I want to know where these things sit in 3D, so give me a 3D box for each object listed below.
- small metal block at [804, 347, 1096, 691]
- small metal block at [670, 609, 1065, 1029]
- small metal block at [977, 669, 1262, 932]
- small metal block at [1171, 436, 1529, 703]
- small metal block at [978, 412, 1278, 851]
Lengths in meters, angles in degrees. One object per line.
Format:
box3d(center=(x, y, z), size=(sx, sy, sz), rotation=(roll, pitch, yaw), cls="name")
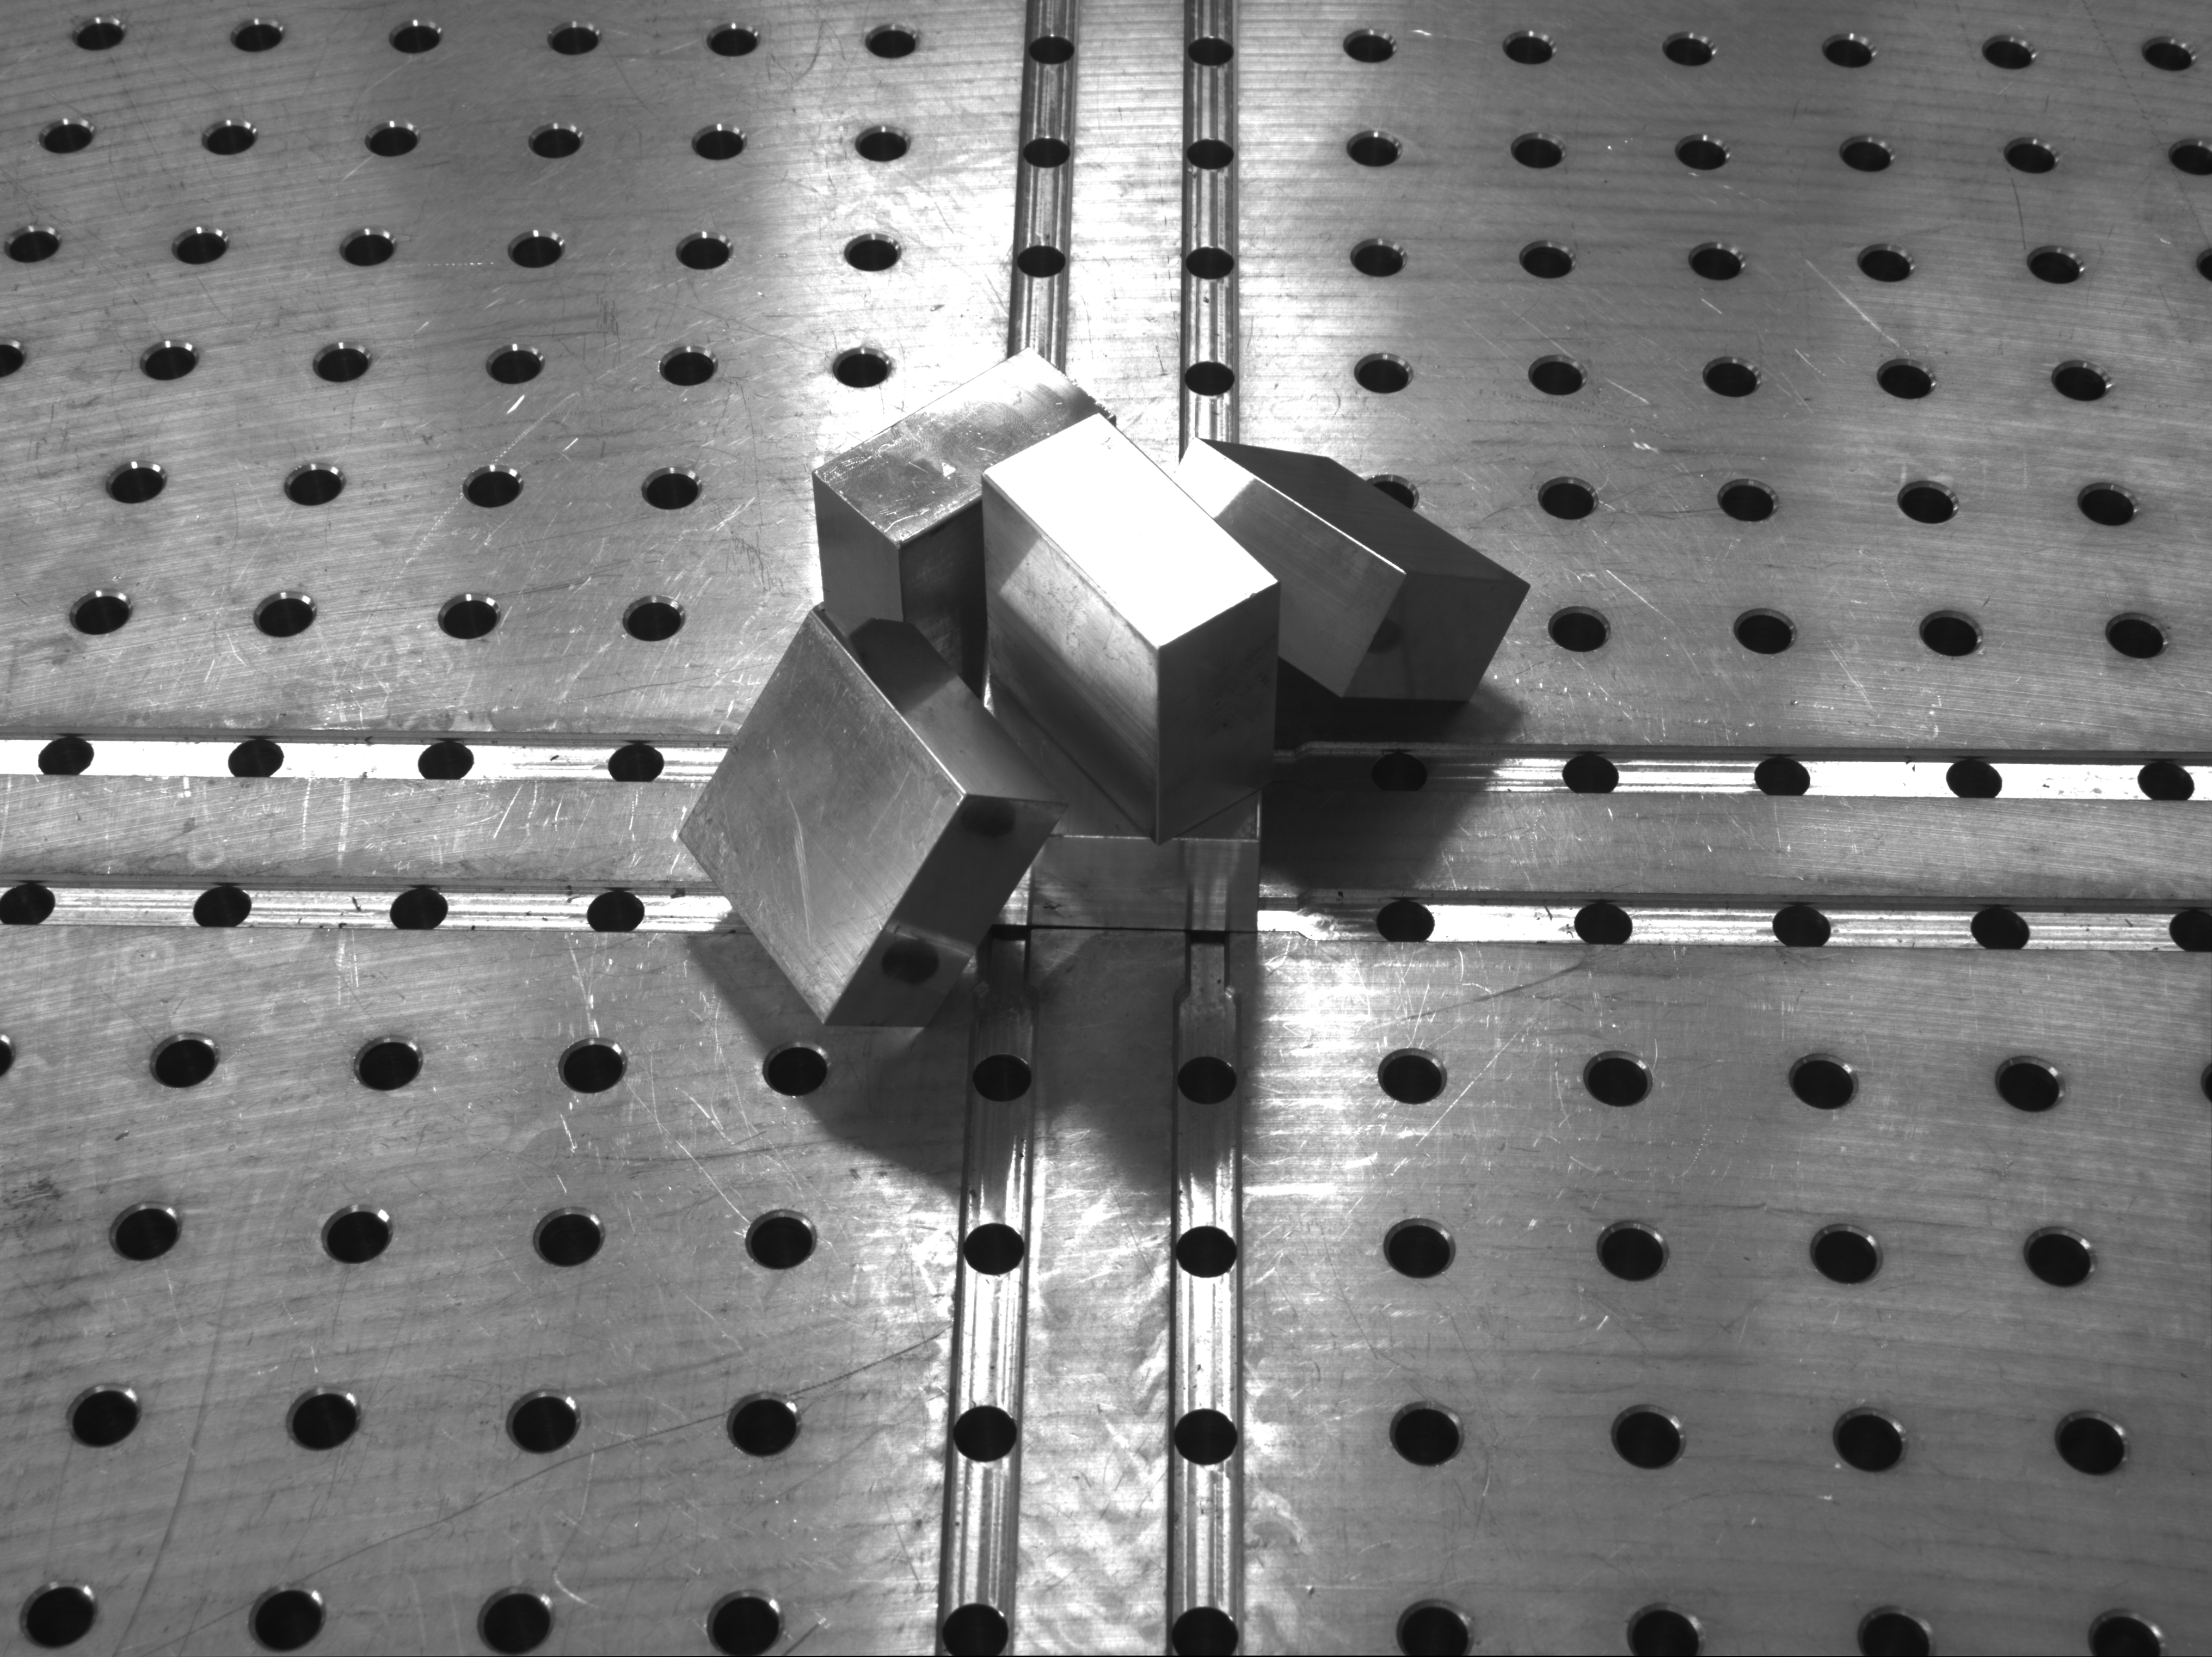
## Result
box3d(center=(-0.026, -0.052, 0.673), size=(0.050, 0.050, 0.025), rotation=(-34, 57, -25), cls="small metal block")
box3d(center=(-0.042, -0.001, 0.627), size=(0.025, 0.050, 0.050), rotation=(5, 36, -48), cls="small metal block")
box3d(center=(0.002, -0.009, 0.653), size=(0.050, 0.025, 0.050), rotation=(1, 50, 0), cls="small metal block")
box3d(center=(0.041, -0.047, 0.667), size=(0.050, 0.025, 0.050), rotation=(35, 18, 26), cls="small metal block")
box3d(center=(0.003, -0.033, 0.625), size=(0.025, 0.050, 0.050), rotation=(-28, 56, -23), cls="small metal block")
